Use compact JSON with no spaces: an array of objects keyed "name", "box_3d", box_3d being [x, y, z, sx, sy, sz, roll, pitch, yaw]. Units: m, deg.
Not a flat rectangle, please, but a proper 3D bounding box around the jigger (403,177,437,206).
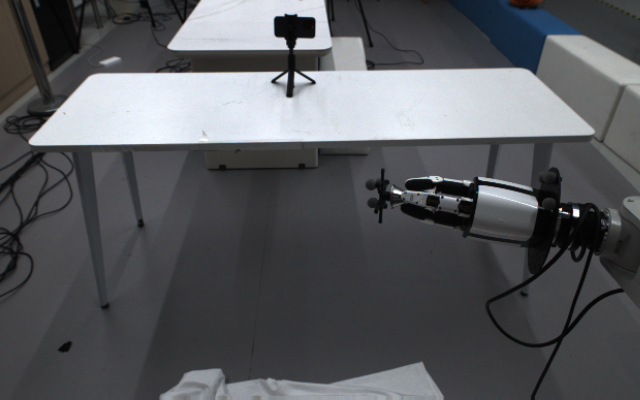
[{"name":"jigger","box_3d":[0.155,-0.008,0.764,0.071,0.043,0.043,3,34,18]}]
